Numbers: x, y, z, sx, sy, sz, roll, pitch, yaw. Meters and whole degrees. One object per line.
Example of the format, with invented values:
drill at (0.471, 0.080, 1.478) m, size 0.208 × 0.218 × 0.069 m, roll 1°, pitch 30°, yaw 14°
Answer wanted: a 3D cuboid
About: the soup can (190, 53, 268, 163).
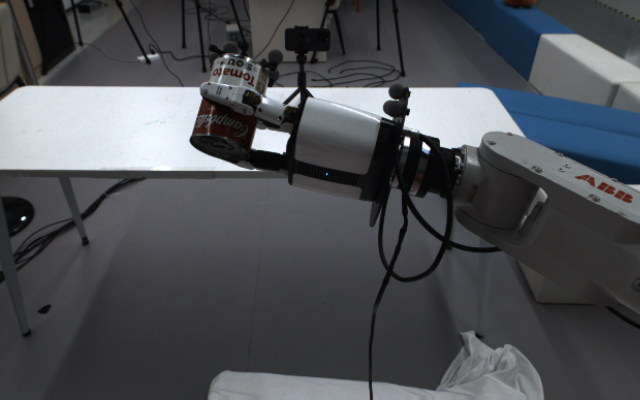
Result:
soup can at (-0.100, -0.104, 0.549) m, size 0.067 × 0.067 × 0.101 m, roll 9°, pitch 74°, yaw 9°
